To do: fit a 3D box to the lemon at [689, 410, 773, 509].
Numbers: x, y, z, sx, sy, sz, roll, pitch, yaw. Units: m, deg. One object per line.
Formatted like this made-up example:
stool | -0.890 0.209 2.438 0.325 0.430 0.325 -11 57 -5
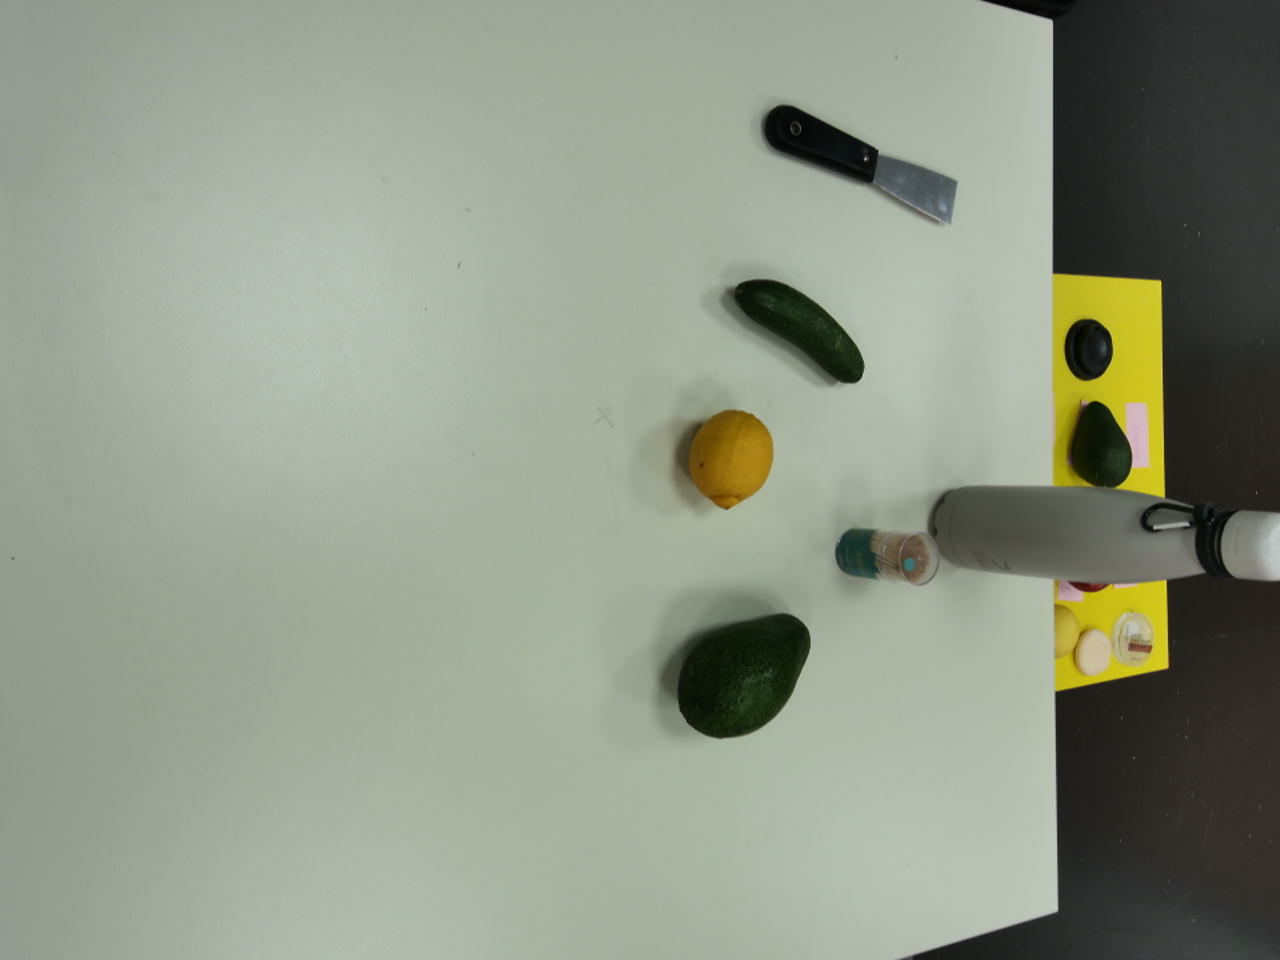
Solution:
lemon | 0.065 -0.016 0.721 0.061 0.059 0.066 44 70 -21
